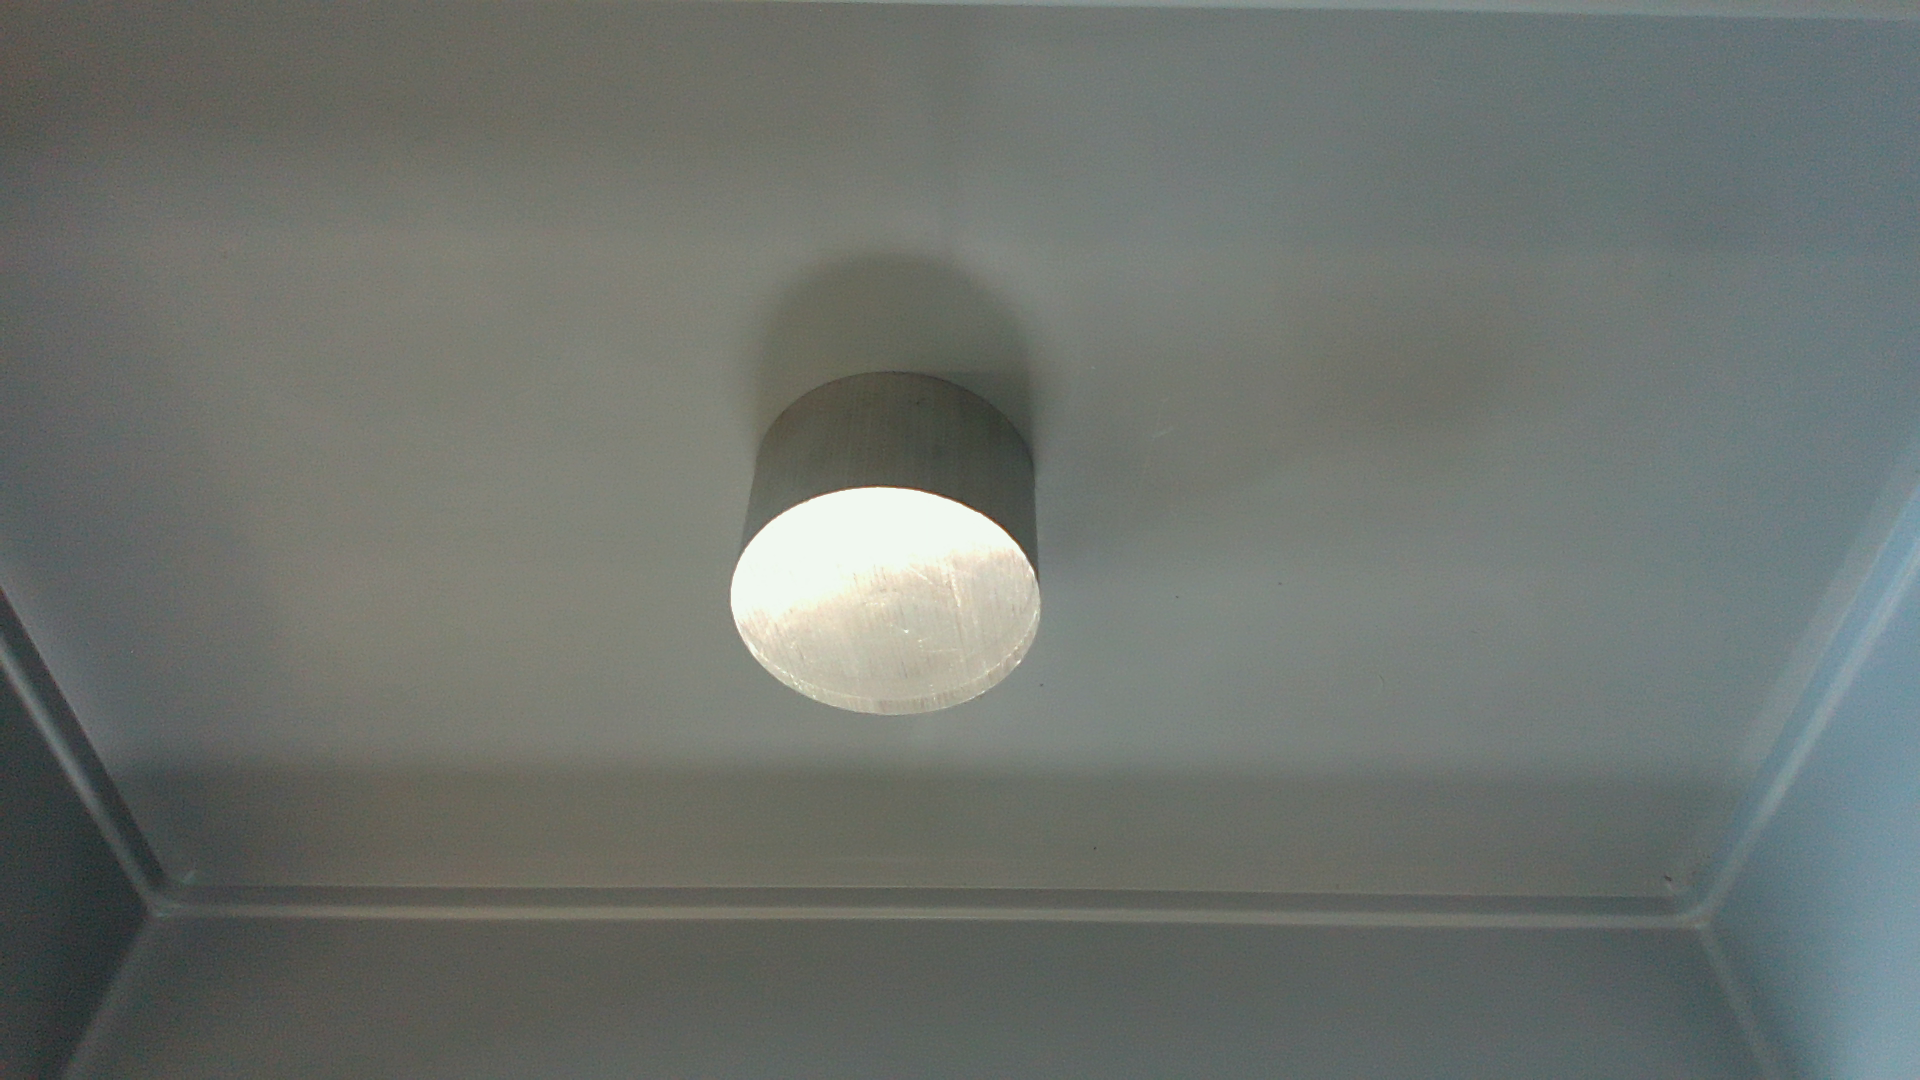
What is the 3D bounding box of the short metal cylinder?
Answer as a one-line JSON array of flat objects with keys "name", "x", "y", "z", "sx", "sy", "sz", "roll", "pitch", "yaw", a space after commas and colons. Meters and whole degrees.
[{"name": "short metal cylinder", "x": -0.019, "y": 0.002, "z": 0.373, "sx": 0.080, "sy": 0.050, "sz": 0.080, "roll": 0, "pitch": 130, "yaw": 0}]
